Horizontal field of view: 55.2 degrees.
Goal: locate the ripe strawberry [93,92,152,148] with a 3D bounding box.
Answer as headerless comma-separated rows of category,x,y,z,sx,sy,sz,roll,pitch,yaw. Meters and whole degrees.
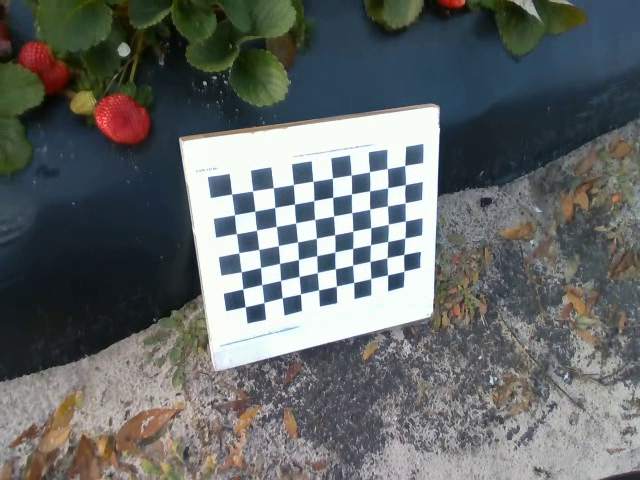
ripe strawberry,-0.087,-0.039,0.238,0.022,0.025,0.030,-16,38,9
